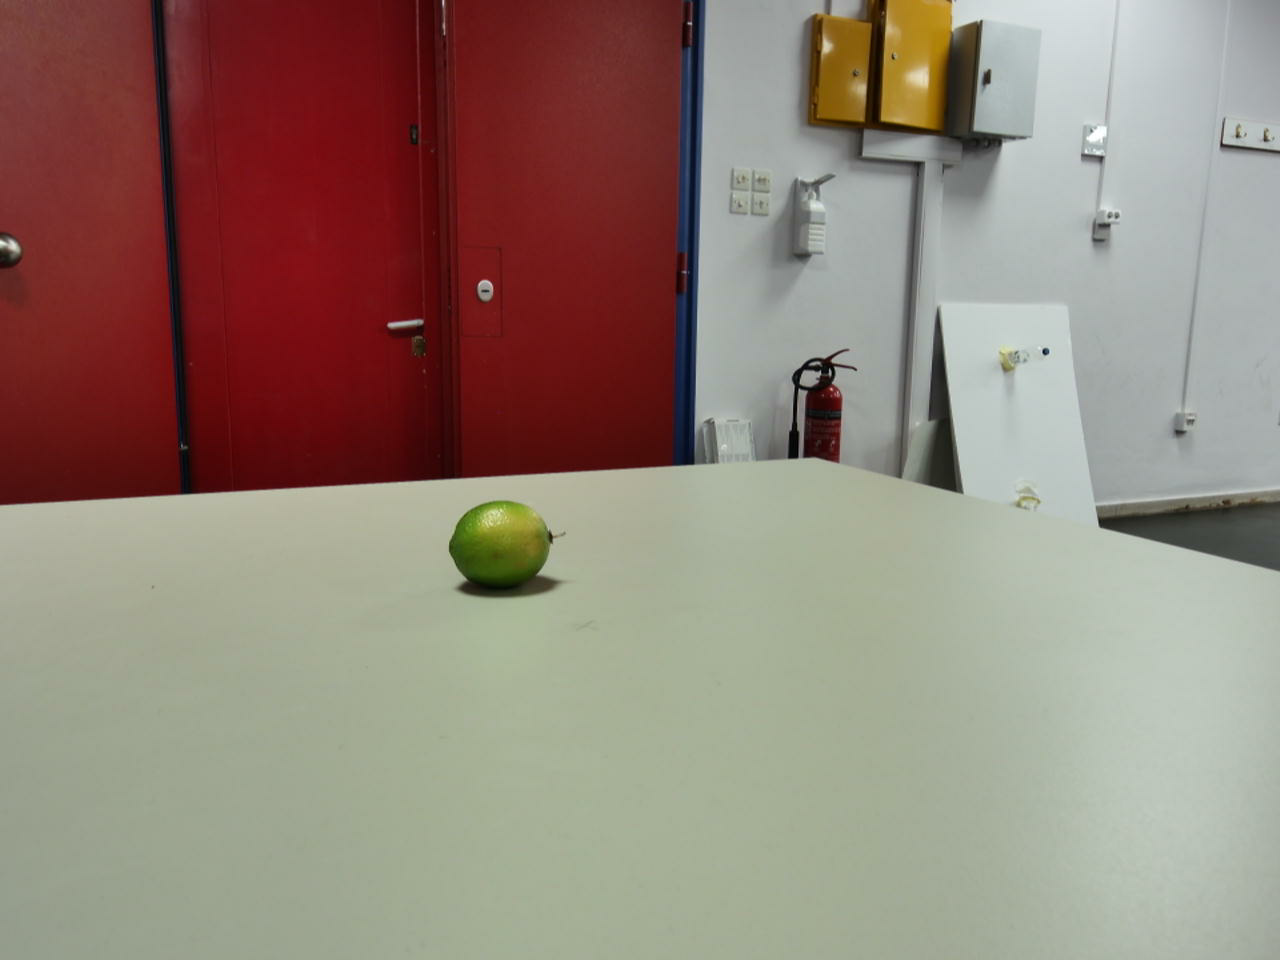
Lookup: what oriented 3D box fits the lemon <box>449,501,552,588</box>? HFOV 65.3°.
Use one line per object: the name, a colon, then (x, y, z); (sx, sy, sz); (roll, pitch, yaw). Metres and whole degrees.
lemon: (-0.082, 0.037, 0.590); (0.055, 0.050, 0.054); (3, 9, 25)
